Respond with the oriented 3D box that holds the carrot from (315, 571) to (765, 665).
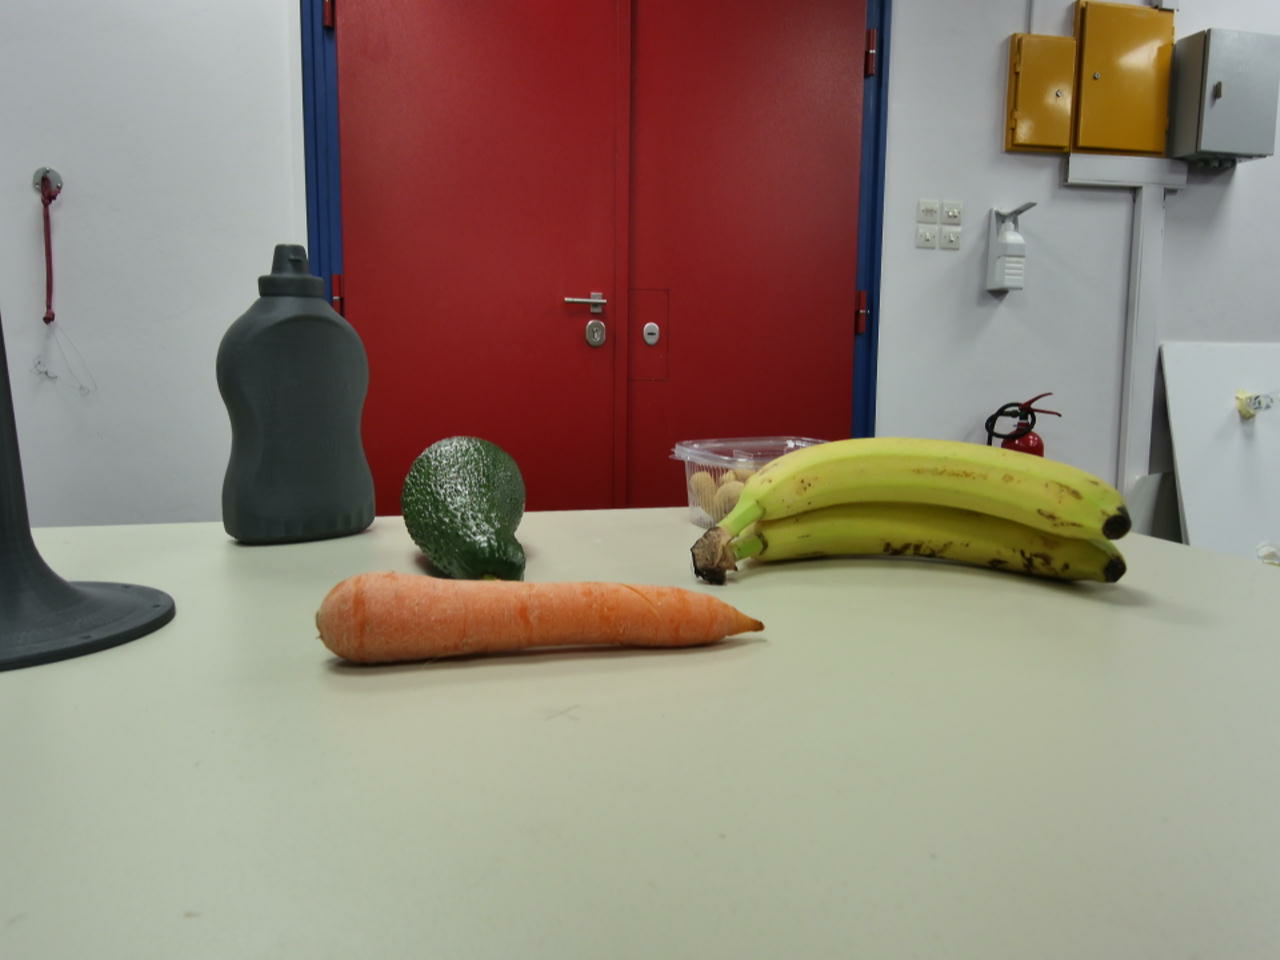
[{"bbox_3d":[-0.040,0.057,0.441,0.196,0.041,0.039,-2,5,-13],"label":"carrot"}]
